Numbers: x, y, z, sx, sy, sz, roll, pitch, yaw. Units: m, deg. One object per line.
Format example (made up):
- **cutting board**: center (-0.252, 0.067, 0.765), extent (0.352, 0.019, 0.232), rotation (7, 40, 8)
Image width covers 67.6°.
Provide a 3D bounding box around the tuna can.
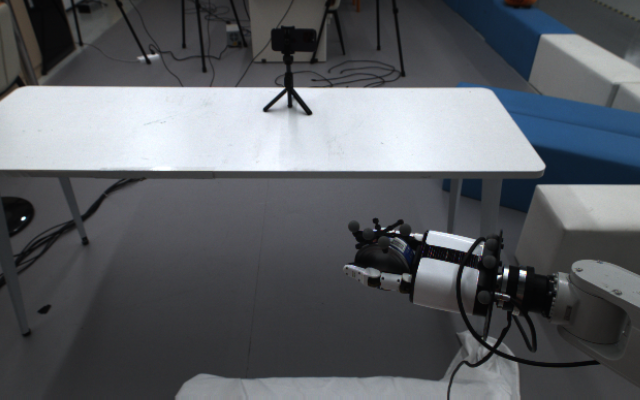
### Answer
- **tuna can**: center (0.099, 0.090, 0.725), extent (0.085, 0.085, 0.034), rotation (17, 37, 20)
